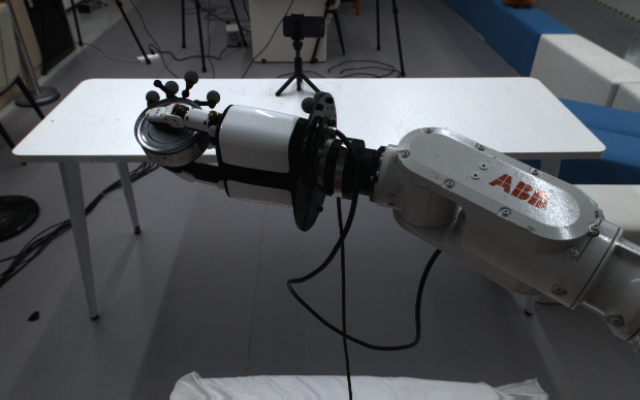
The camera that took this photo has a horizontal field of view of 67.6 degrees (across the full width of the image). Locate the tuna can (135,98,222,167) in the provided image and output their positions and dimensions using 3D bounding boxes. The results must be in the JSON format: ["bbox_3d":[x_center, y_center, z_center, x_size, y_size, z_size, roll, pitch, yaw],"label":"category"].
[{"bbox_3d":[-0.178,-0.082,0.596,0.085,0.034,0.085,-1,58,2],"label":"tuna can"}]
